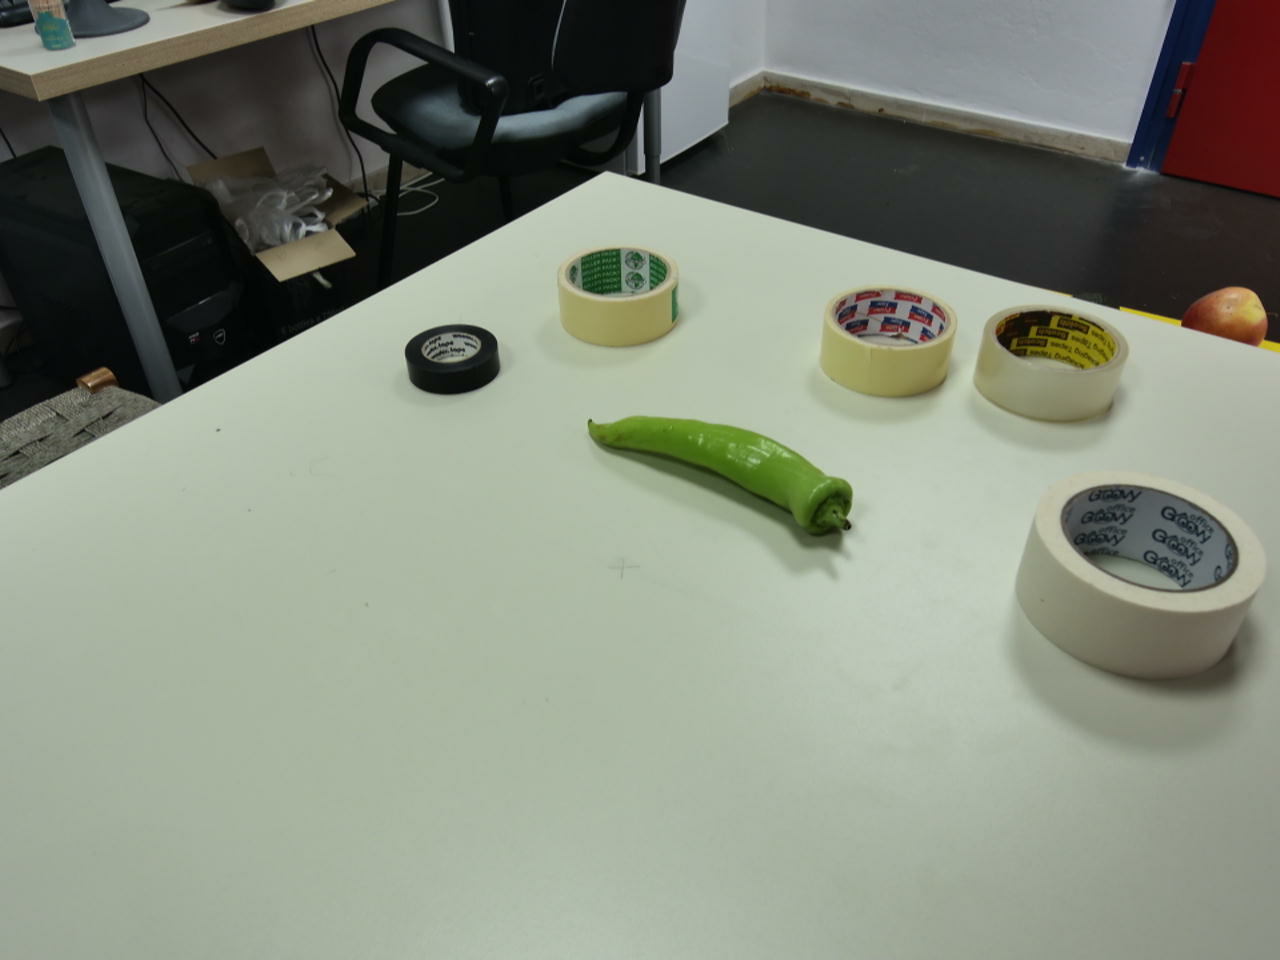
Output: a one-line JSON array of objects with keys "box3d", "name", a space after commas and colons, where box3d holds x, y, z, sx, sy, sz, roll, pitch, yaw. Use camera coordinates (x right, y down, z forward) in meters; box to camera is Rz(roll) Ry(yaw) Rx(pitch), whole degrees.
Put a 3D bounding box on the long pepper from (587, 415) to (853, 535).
[{"box3d": [0.048, -0.016, 0.607, 0.197, 0.038, 0.046, 26, 45, 31], "name": "long pepper"}]
